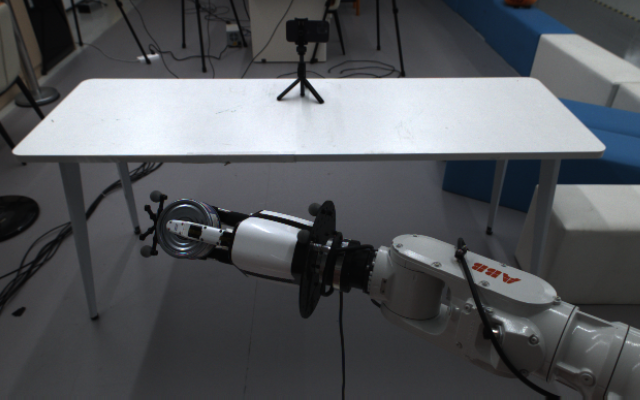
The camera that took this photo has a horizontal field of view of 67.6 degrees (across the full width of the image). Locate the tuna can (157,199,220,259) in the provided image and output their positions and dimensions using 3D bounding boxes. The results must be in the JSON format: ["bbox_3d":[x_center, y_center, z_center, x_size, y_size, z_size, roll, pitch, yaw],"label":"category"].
[{"bbox_3d":[-0.183,0.044,0.680,0.085,0.085,0.034,10,-5,11],"label":"tuna can"}]
